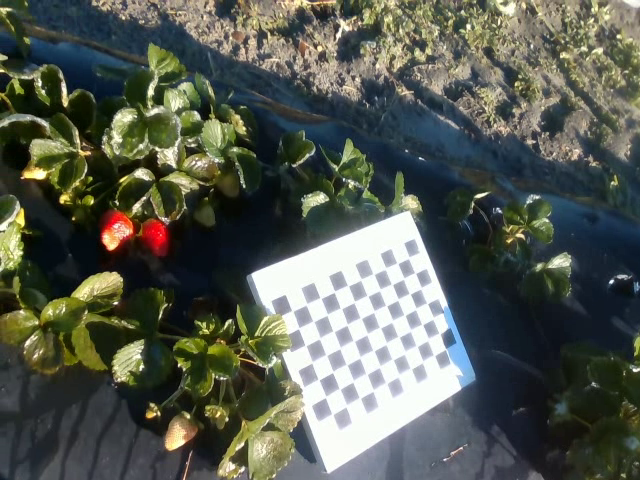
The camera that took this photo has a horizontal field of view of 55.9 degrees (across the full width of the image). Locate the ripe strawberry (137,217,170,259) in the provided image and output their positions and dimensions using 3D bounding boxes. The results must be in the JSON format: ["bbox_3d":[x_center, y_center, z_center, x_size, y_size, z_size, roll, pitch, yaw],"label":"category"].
[{"bbox_3d":[-0.238,-0.006,0.861,0.043,0.059,0.040,-21,-6,-30],"label":"ripe strawberry"}]

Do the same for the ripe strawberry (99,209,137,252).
[{"bbox_3d":[-0.290,-0.010,0.846,0.052,0.070,0.040,32,-32,-25],"label":"ripe strawberry"}]
